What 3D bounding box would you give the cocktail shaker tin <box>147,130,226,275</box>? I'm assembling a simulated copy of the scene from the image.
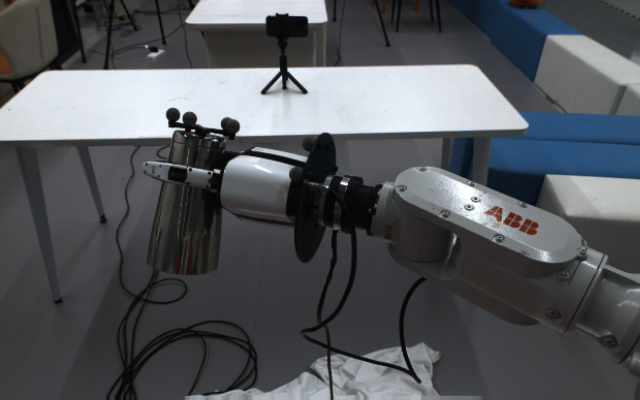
[{"bbox_3d":[-0.163,-0.001,0.625,0.093,0.170,0.093,10,10,-2],"label":"cocktail shaker tin"}]
